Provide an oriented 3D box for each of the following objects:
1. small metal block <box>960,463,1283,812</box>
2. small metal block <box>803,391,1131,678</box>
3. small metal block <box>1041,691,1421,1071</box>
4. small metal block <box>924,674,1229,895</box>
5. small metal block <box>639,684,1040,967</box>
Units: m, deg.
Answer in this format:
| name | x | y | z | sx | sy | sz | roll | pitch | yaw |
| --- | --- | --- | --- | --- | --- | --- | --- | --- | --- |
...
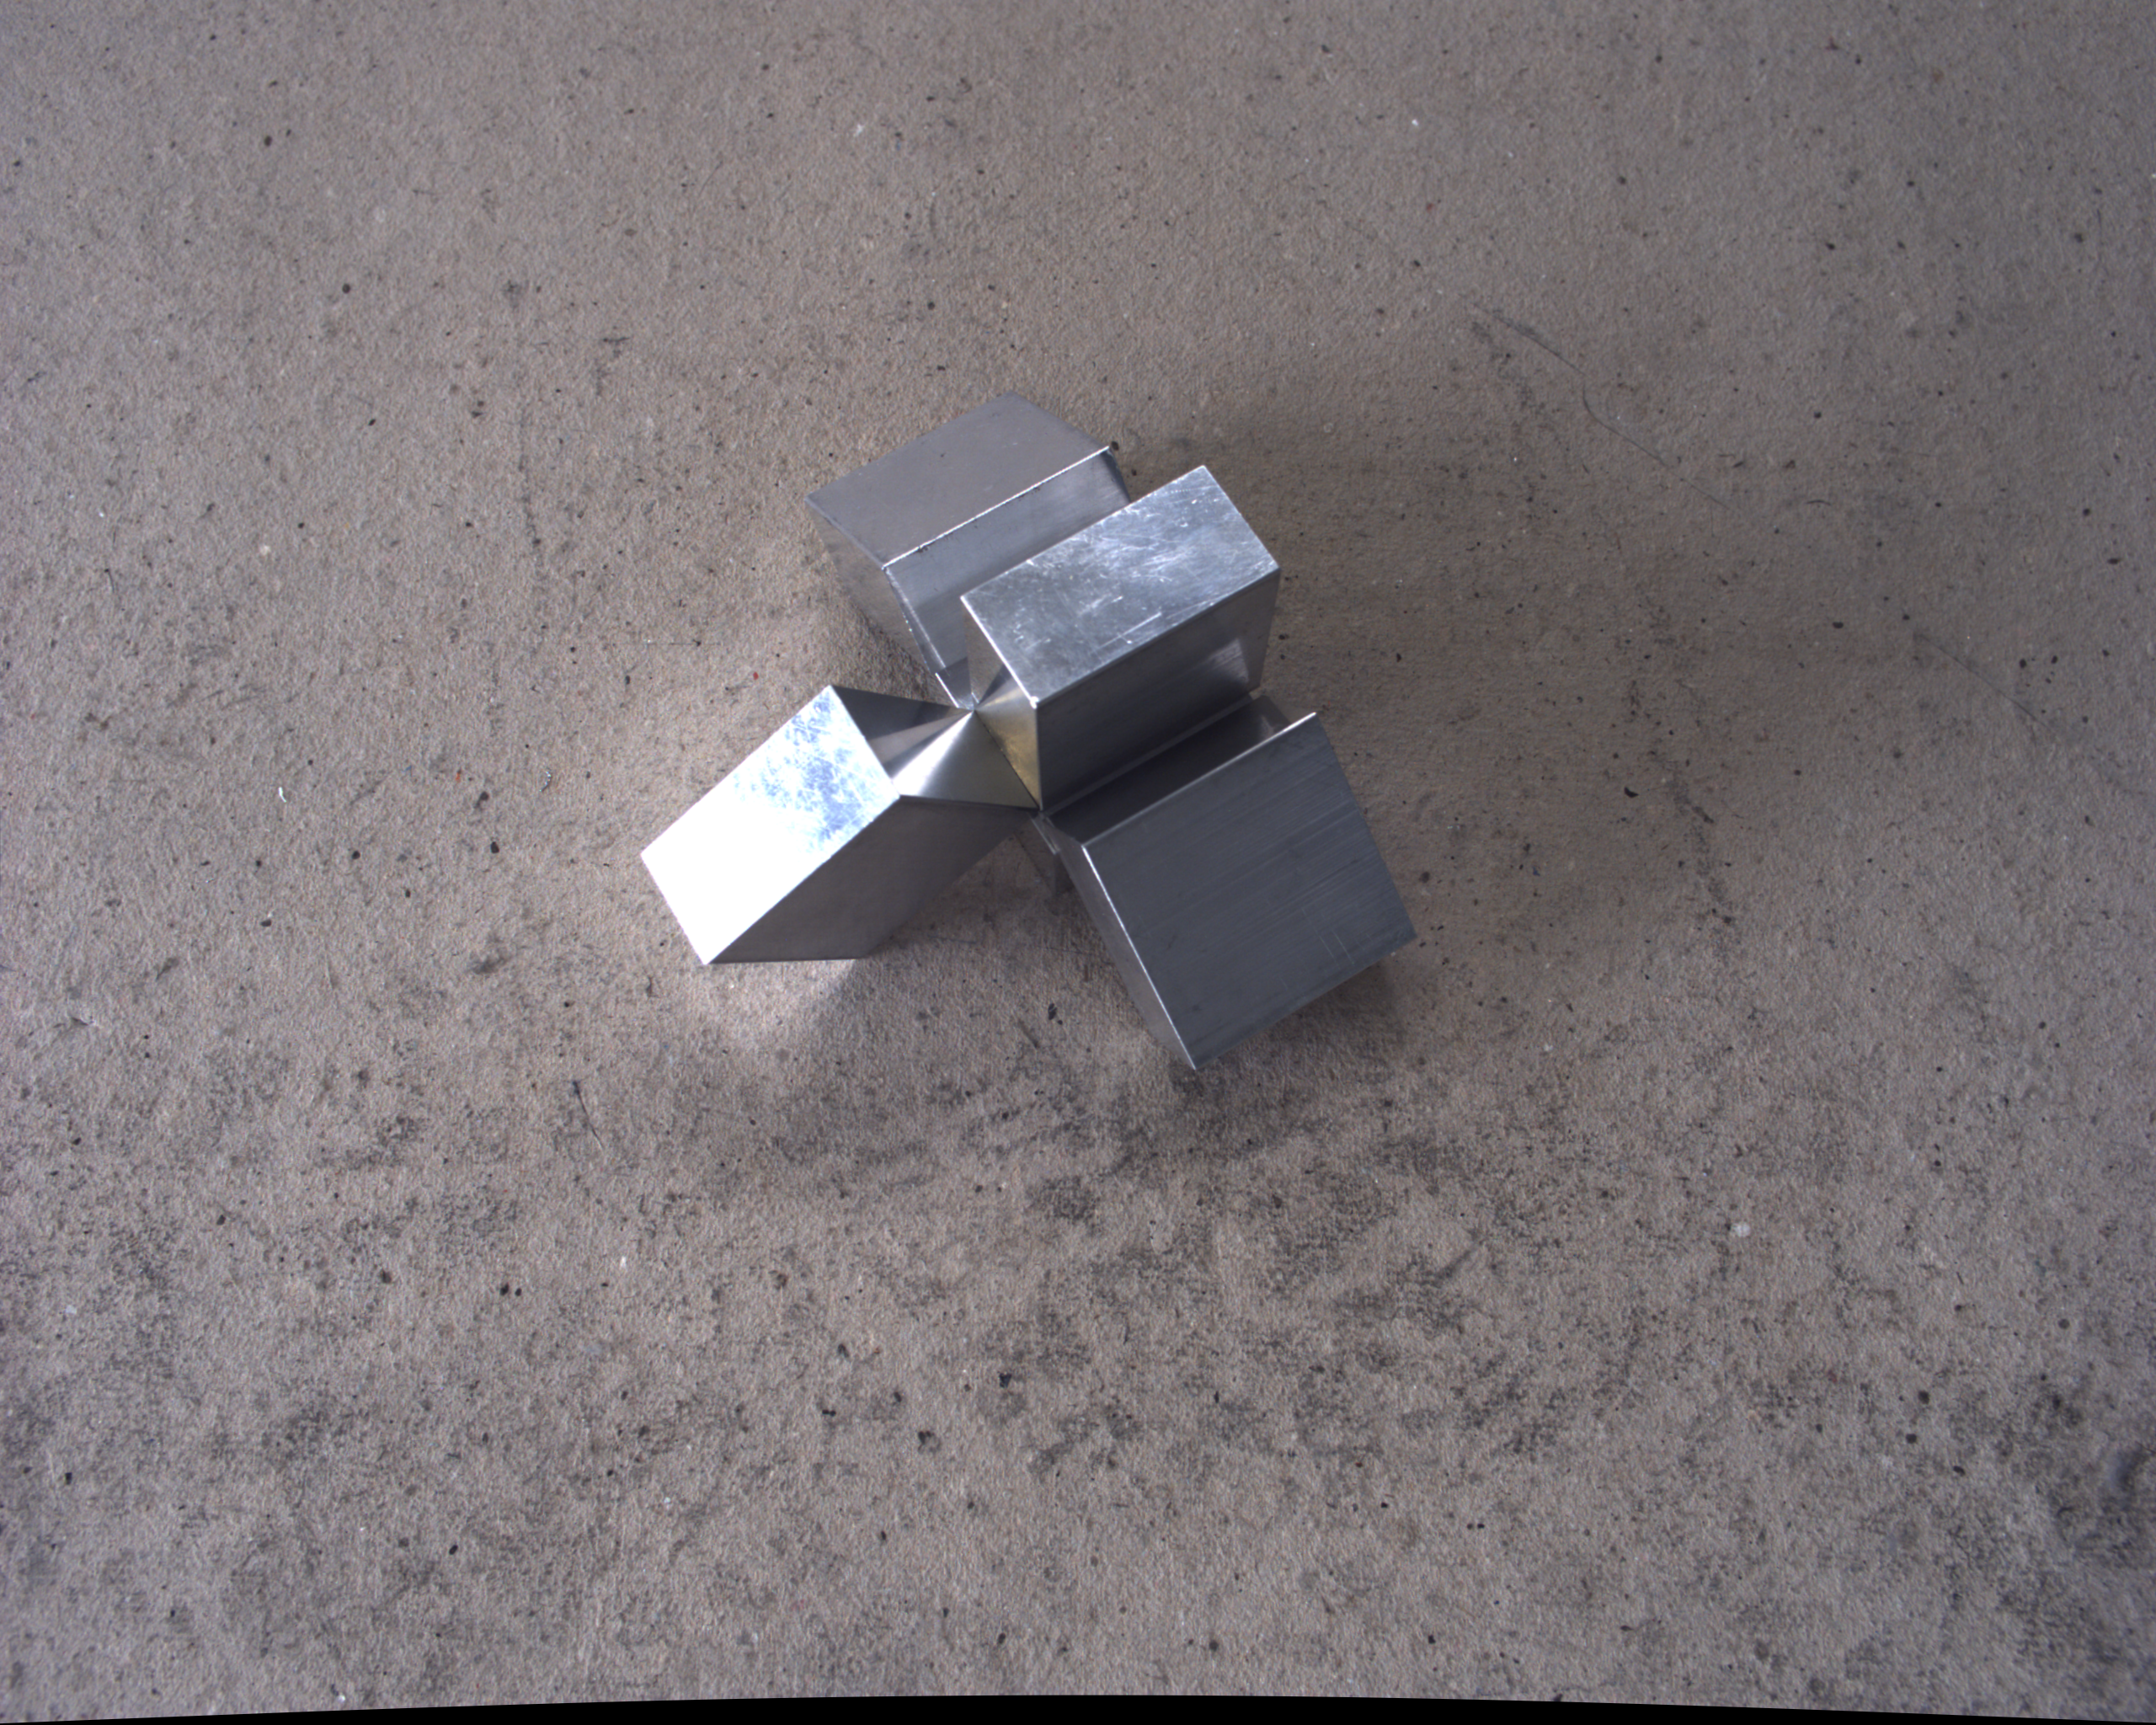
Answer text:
| name | x | y | z | sx | sy | sz | roll | pitch | yaw |
| --- | --- | --- | --- | --- | --- | --- | --- | --- | --- |
| small metal block | 0.008 | -0.040 | 0.384 | 0.050 | 0.050 | 0.025 | -30 | 74 | -10 |
| small metal block | -0.021 | -0.067 | 0.420 | 0.050 | 0.025 | 0.050 | -30 | 33 | -10 |
| small metal block | 0.029 | 0.003 | 0.395 | 0.050 | 0.025 | 0.050 | -31 | 109 | -10 |
| small metal block | 0.003 | -0.030 | 0.421 | 0.050 | 0.025 | 0.050 | -31 | 73 | -8 |
| small metal block | -0.043 | -0.006 | 0.388 | 0.050 | 0.050 | 0.025 | -39 | 73 | 21 |
